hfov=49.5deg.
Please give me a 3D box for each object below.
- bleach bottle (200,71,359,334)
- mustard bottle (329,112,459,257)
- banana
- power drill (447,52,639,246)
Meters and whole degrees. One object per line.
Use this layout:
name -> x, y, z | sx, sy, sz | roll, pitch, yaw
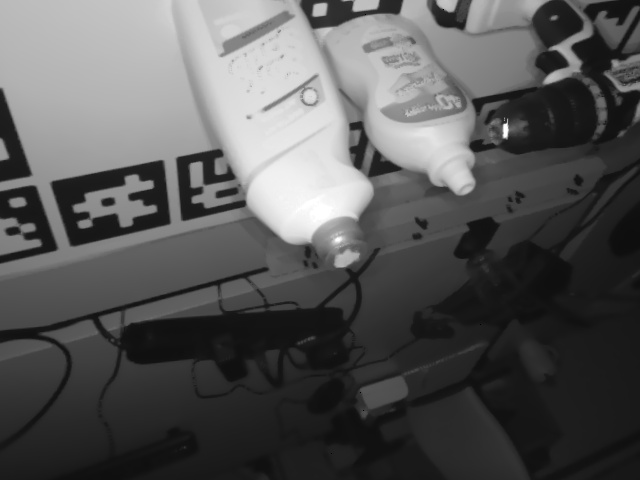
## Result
bleach bottle -> -0.024, -0.035, 0.584 | 0.103, 0.251, 0.067 | -17, 145, -11
mustard bottle -> 0.084, -0.043, 0.681 | 0.097, 0.192, 0.058 | -11, 145, -17
banana -> 0.069, -0.186, 0.611 | 0.200, 0.039, 0.073 | -12, 140, -22
power drill -> 0.192, -0.087, 0.657 | 0.186, 0.187, 0.057 | -12, 151, -14
